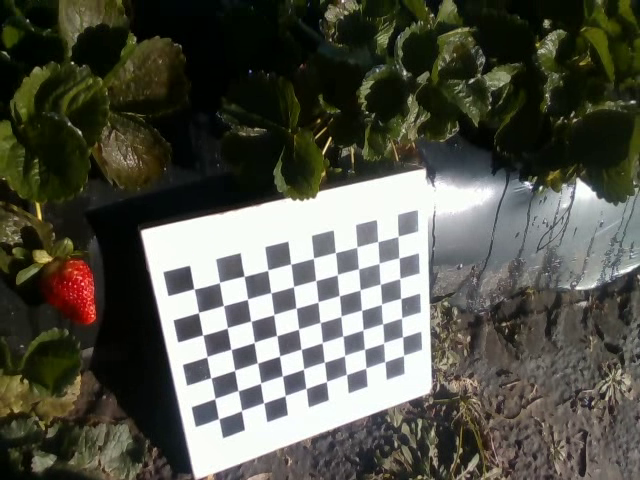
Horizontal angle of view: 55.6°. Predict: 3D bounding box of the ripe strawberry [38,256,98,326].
[{"bbox_3d":[-0.207,0.044,0.502,0.048,0.069,0.040,-31,20,-12],"label":"ripe strawberry"}]
